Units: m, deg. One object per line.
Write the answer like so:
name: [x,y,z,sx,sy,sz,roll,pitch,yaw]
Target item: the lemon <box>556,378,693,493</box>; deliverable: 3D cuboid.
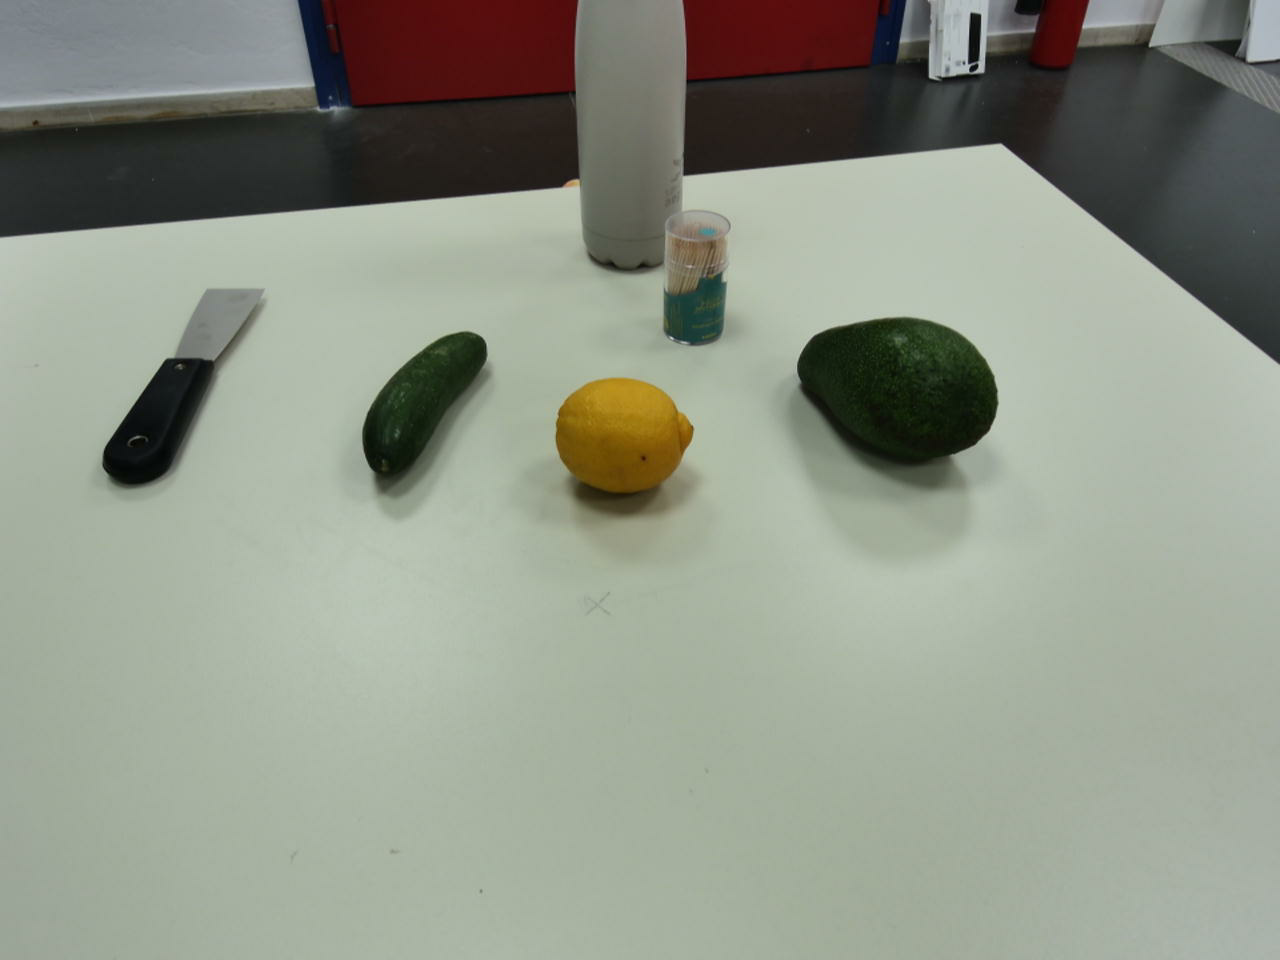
lemon: [-0.010,-0.023,0.520,0.067,0.059,0.060,20,43,22]
